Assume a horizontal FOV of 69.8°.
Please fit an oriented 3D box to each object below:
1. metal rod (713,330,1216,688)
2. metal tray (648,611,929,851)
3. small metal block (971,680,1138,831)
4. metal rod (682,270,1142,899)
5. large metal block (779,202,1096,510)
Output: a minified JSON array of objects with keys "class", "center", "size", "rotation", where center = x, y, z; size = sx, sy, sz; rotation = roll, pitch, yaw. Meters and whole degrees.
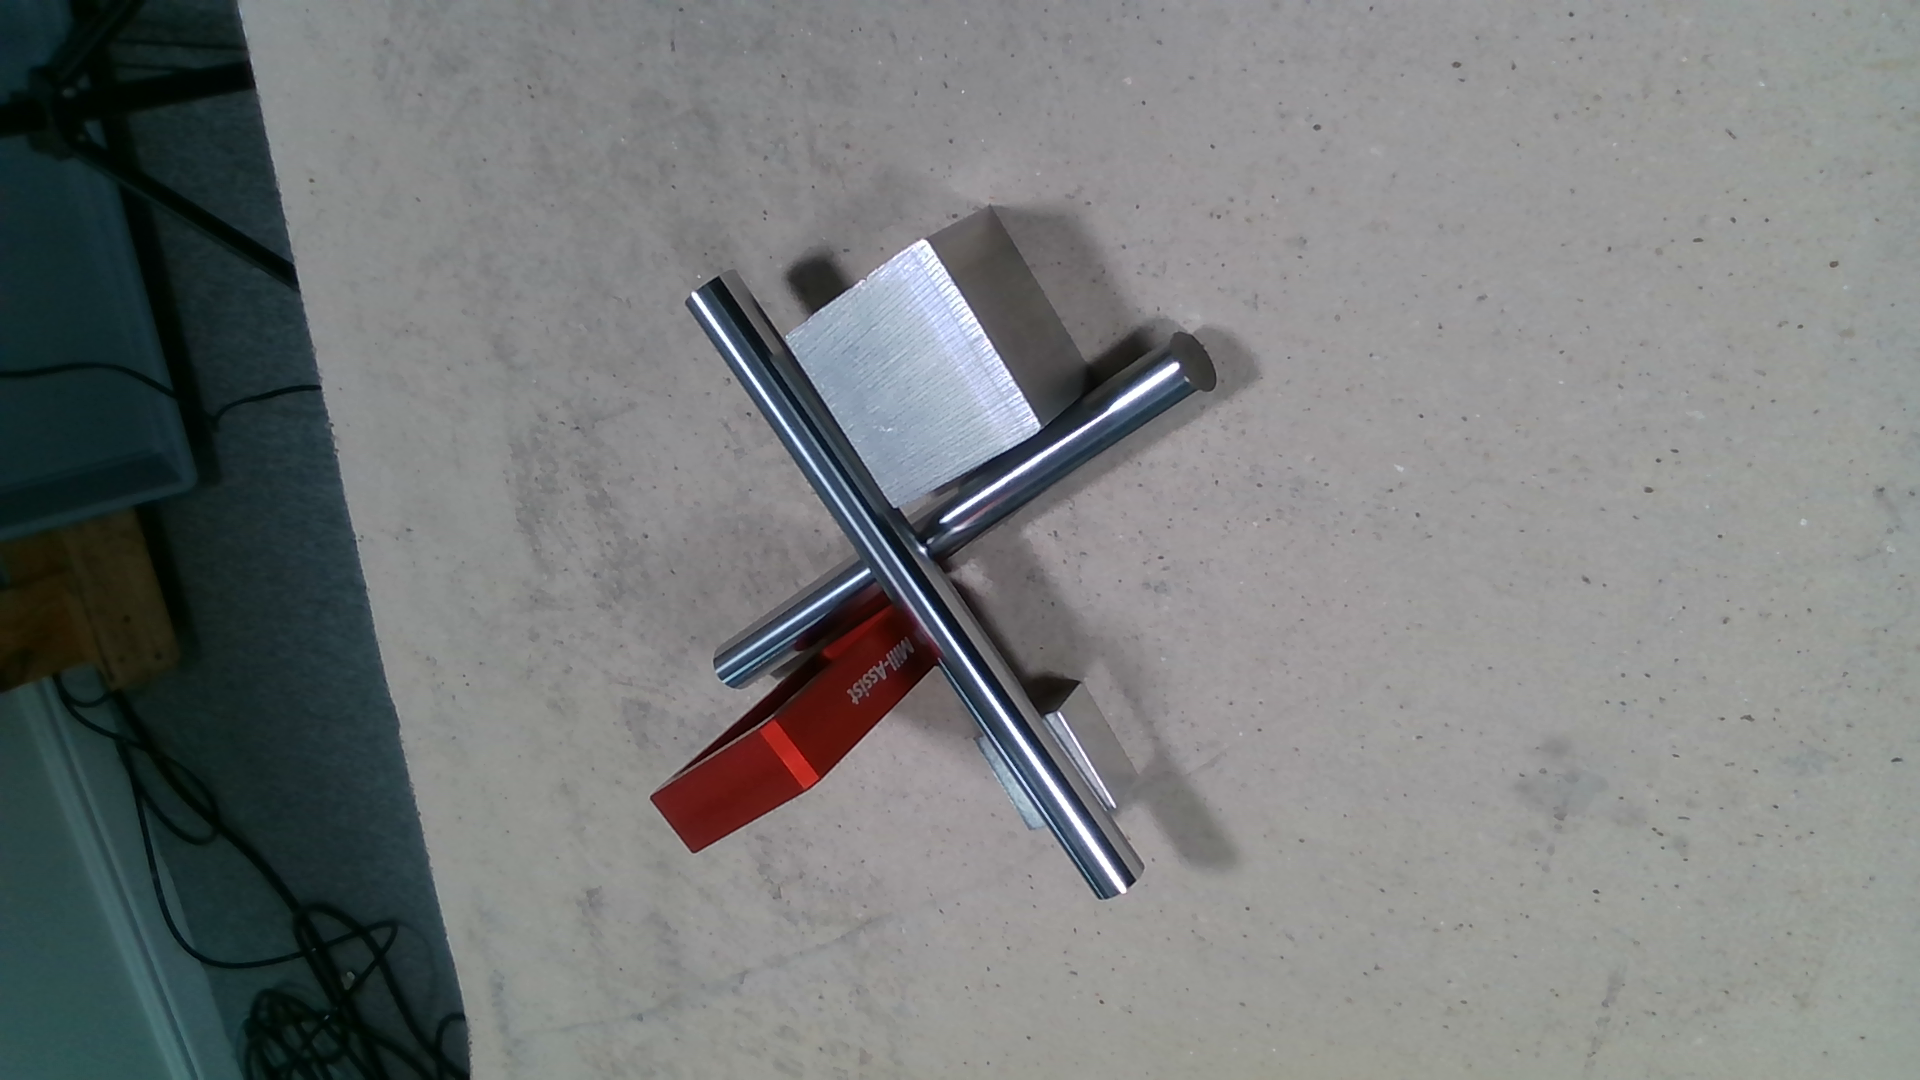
[{"class":"metal rod","center":[-0.014,-0.001,0.588],"size":[0.301,0.025,0.025],"rotation":[-33,96,39]},{"class":"metal tray","center":[-0.062,0.073,0.589],"size":[0.090,0.130,0.030],"rotation":[-34,94,39]},{"class":"small metal block","center":[0.042,0.096,0.607],"size":[0.050,0.025,0.050],"rotation":[-25,101,38]},{"class":"metal rod","center":[-0.017,0.022,0.570],"size":[0.025,0.025,0.300],"rotation":[-30,98,39]},{"class":"large metal block","center":[-0.008,-0.070,0.529],"size":[0.080,0.050,0.080],"rotation":[-26,100,38]}]
